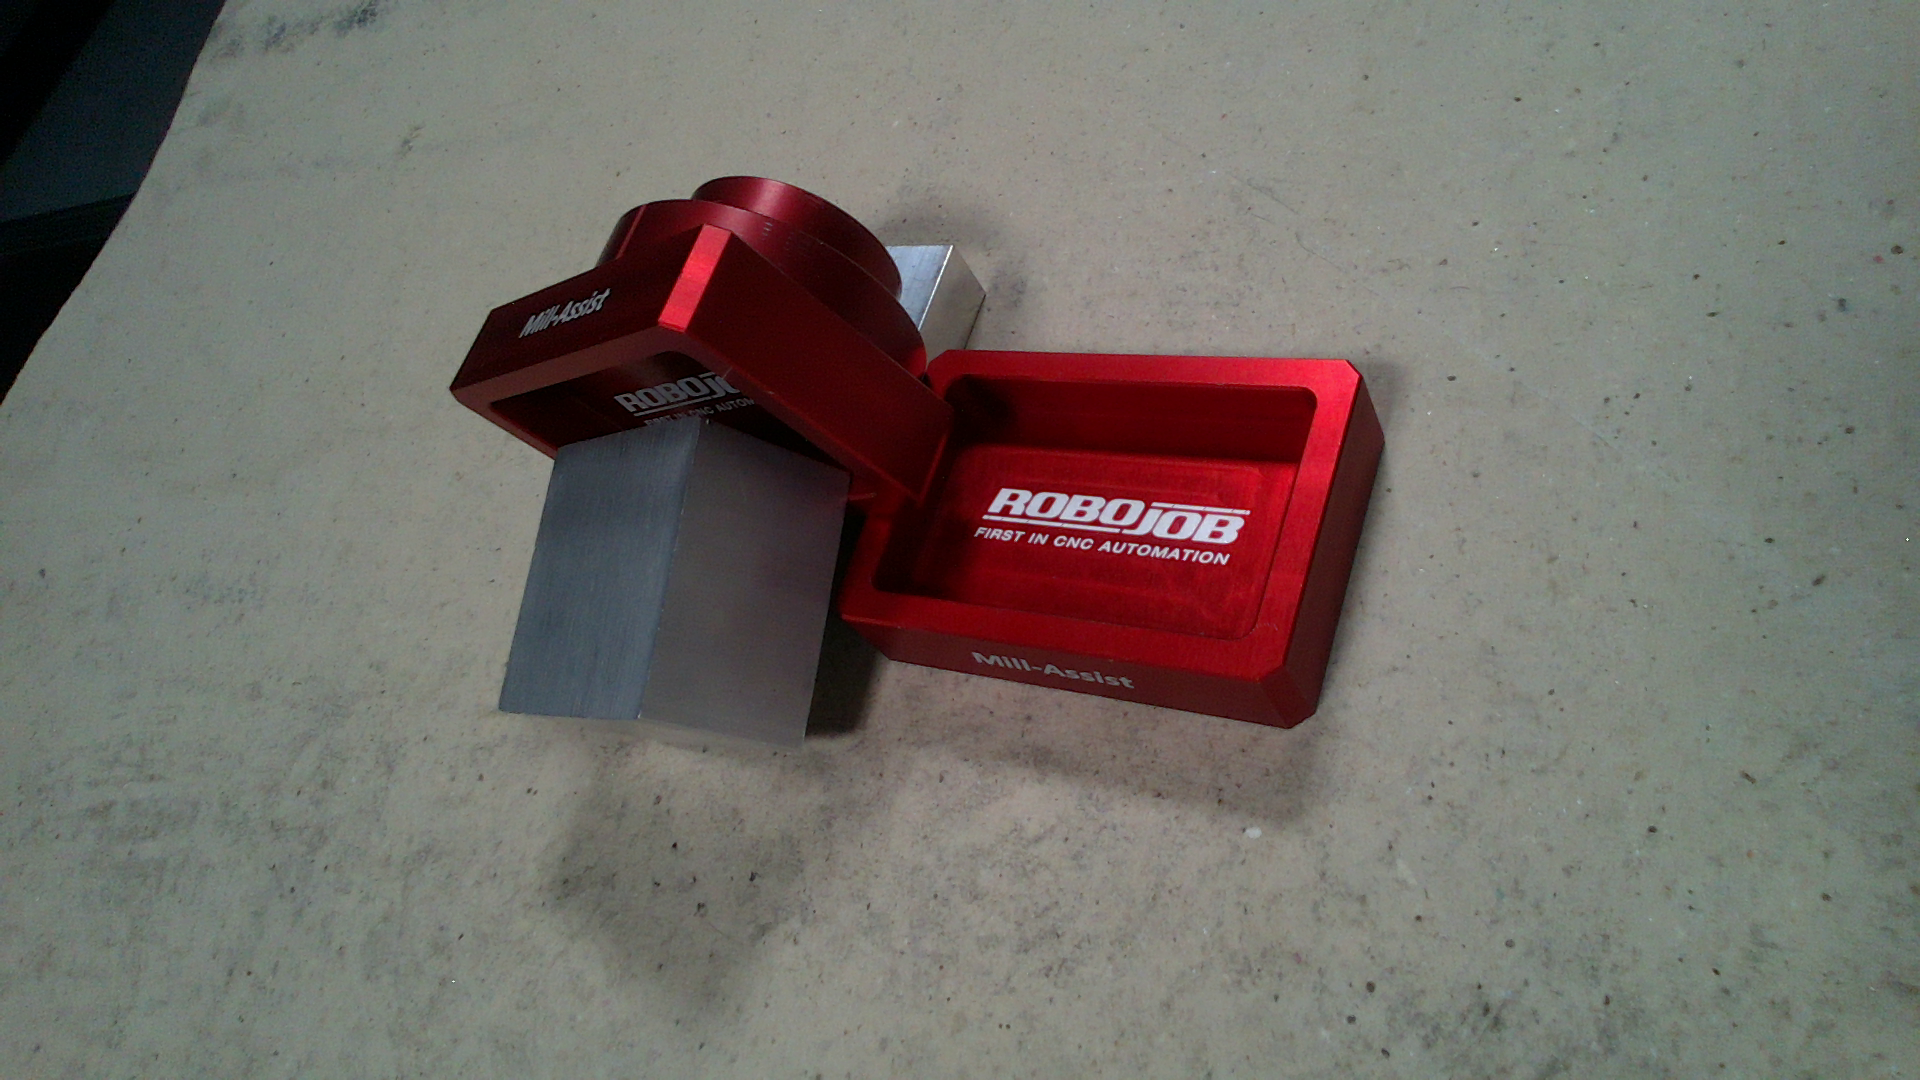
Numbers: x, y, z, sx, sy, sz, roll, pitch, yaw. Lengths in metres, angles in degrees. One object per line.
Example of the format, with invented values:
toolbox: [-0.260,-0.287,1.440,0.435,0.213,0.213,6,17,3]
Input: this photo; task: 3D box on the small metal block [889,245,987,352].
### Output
small metal block: [-0.026,-0.069,0.451,0.050,0.025,0.050,7,65,31]

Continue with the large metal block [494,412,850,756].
large metal block: [-0.082,0.015,0.389,0.080,0.050,0.080,-5,71,47]

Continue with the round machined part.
round machined part: [-0.057,-0.069,0.406,0.098,0.098,0.042,6,65,31]

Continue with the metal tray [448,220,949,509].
metal tray: [-0.078,-0.040,0.397,0.129,0.090,0.030,-5,58,48]

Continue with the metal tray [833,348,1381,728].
metal tray: [0.039,-0.006,0.373,0.129,0.030,0.090,6,65,31]
